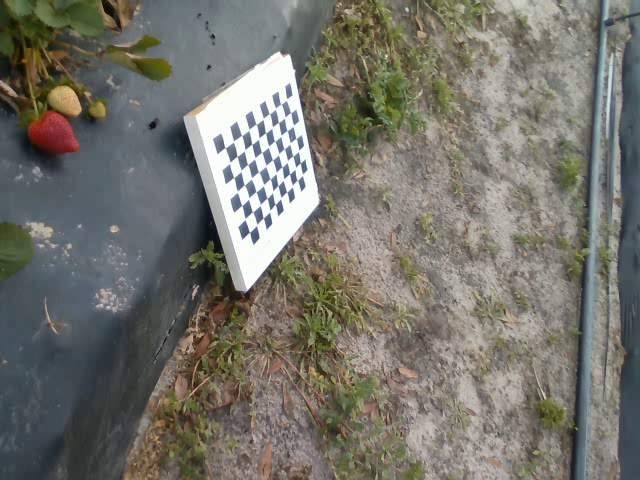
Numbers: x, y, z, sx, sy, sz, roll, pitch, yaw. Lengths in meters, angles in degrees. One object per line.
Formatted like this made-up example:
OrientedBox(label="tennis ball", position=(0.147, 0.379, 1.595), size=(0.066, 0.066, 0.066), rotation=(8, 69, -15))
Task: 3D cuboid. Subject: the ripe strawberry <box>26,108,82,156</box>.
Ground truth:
OrientedBox(label="ripe strawberry", position=(-0.279, -0.110, 0.621), size=(0.059, 0.050, 0.034), rotation=(32, -39, -5))
